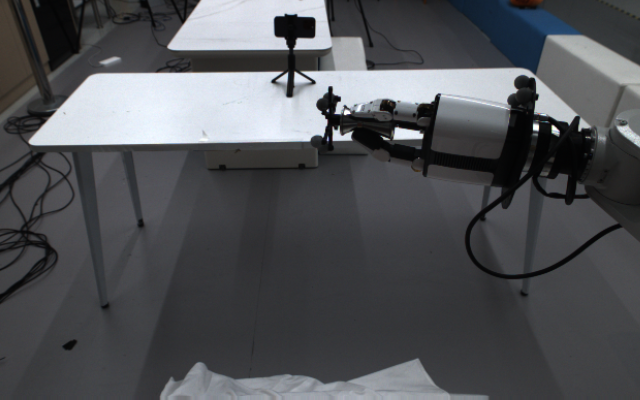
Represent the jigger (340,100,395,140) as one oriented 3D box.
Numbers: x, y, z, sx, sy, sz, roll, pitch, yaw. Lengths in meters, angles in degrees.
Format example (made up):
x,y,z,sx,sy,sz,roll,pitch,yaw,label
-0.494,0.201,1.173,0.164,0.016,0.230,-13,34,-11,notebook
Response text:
x,y,z,sx,sy,sz,roll,pitch,yaw,label
0.070,-0.107,0.638,0.071,0.043,0.043,6,35,13,jigger
